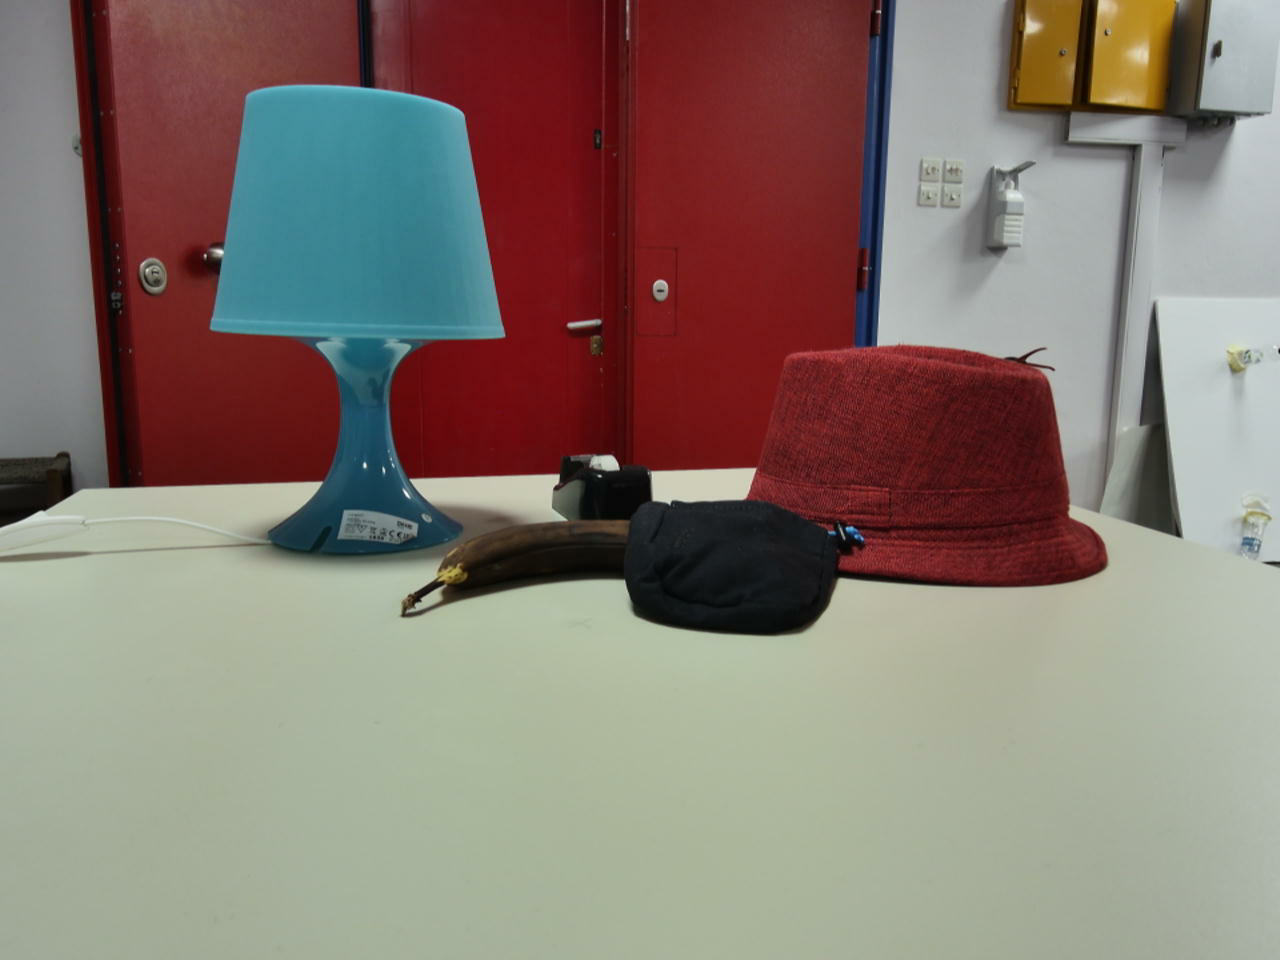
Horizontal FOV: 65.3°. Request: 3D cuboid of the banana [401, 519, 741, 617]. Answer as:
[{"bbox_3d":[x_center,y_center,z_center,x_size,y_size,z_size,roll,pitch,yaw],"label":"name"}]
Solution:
[{"bbox_3d":[-0.040,0.045,0.577,0.188,0.033,0.091,-2,8,-11],"label":"banana"}]
